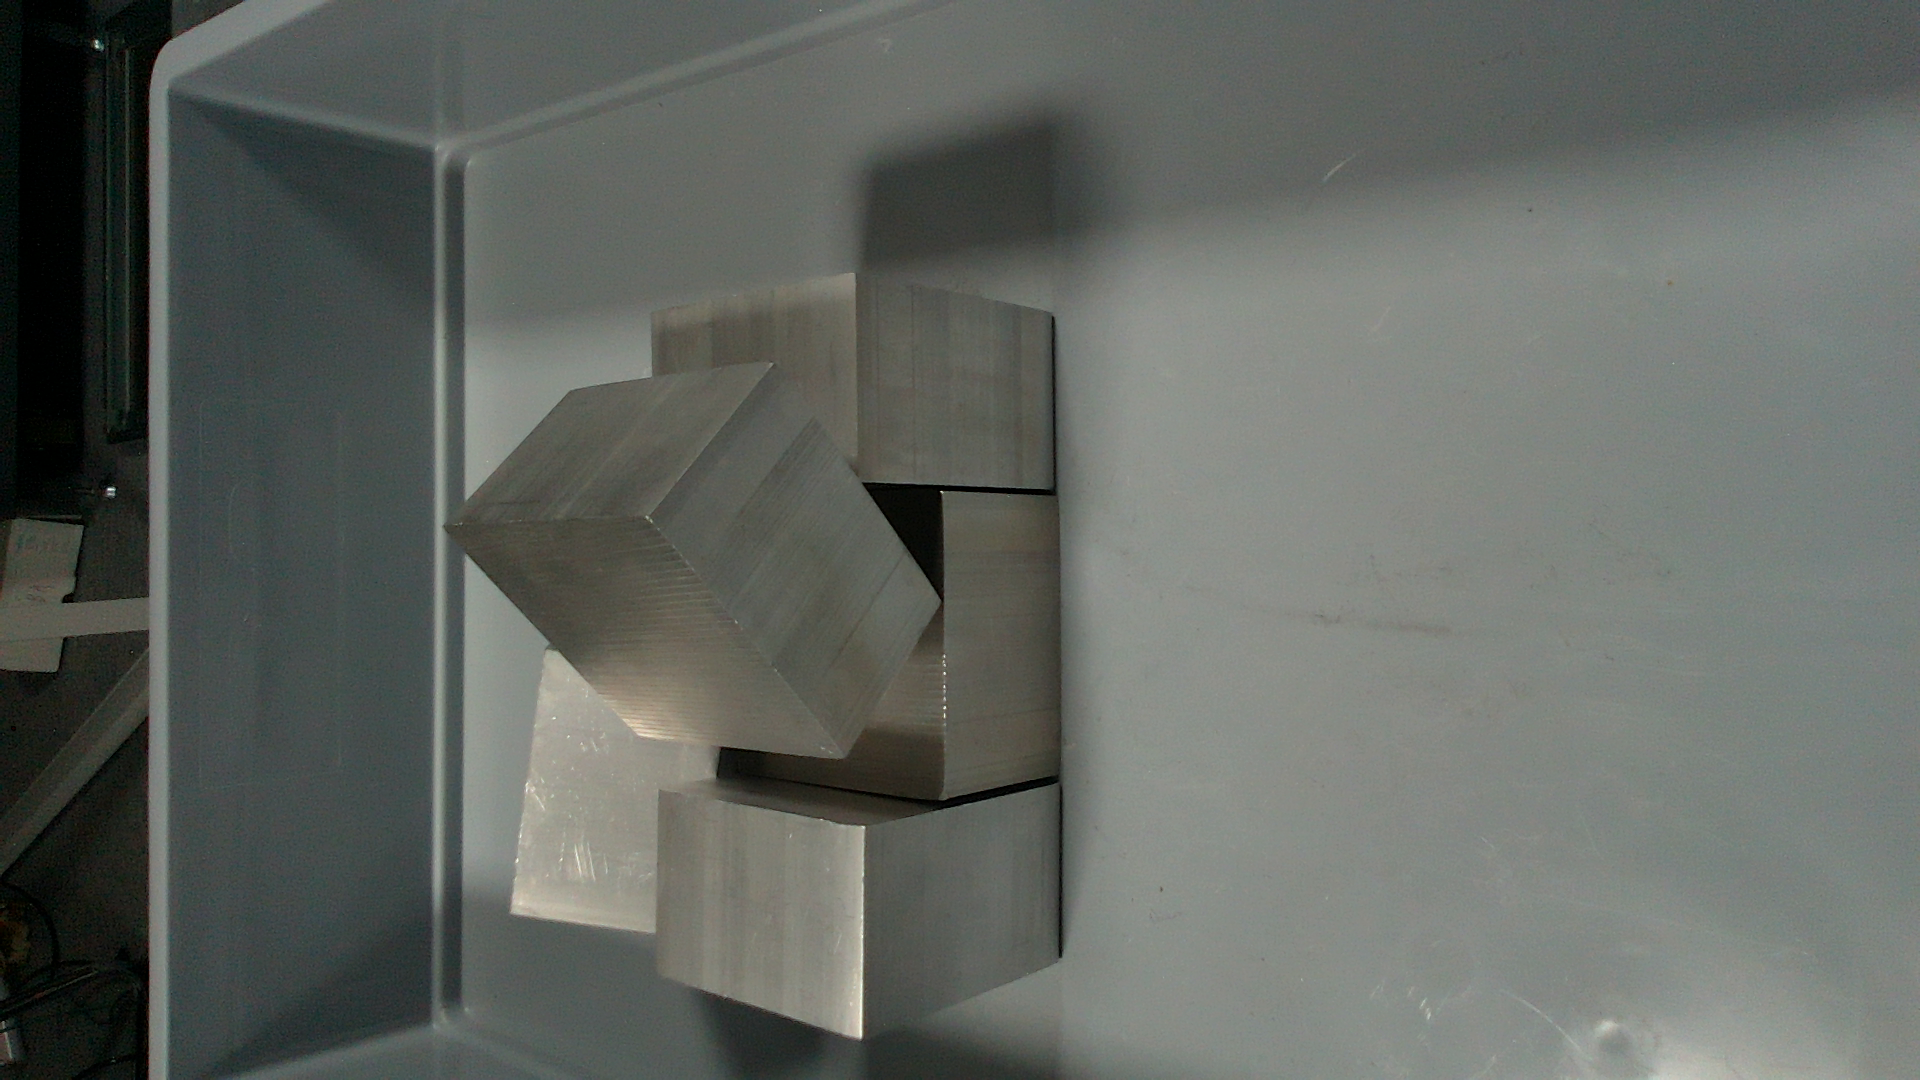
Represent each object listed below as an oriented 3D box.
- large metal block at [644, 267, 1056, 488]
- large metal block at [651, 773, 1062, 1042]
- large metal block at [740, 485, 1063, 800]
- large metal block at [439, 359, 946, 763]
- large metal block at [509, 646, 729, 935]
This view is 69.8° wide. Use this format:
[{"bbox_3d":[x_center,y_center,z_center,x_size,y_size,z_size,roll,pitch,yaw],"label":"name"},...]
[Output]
[{"bbox_3d":[-0.030,-0.039,0.381,0.080,0.080,0.050,-2,89,40],"label":"large metal block"},{"bbox_3d":[-0.028,0.093,0.380,0.080,0.080,0.050,0,90,40],"label":"large metal block"},{"bbox_3d":[-0.018,0.027,0.394,0.080,0.050,0.080,-1,89,40],"label":"large metal block"},{"bbox_3d":[-0.064,0.007,0.337,0.080,0.080,0.050,-1,44,40],"label":"large metal block"},{"bbox_3d":[-0.100,0.067,0.431,0.050,0.080,0.080,9,98,-3],"label":"large metal block"}]
